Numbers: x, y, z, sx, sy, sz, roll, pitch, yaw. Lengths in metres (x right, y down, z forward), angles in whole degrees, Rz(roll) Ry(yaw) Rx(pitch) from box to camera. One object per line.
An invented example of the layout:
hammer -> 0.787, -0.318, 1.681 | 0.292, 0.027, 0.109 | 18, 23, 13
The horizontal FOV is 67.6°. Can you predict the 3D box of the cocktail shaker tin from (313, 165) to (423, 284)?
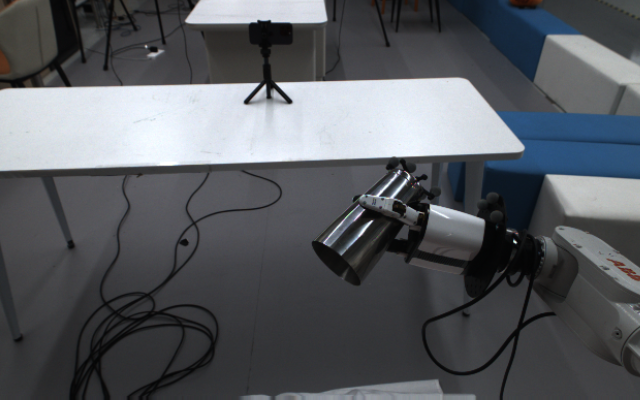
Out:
cocktail shaker tin -> 0.078, 0.029, 0.716 | 0.093, 0.093, 0.170 | 32, 67, 35
